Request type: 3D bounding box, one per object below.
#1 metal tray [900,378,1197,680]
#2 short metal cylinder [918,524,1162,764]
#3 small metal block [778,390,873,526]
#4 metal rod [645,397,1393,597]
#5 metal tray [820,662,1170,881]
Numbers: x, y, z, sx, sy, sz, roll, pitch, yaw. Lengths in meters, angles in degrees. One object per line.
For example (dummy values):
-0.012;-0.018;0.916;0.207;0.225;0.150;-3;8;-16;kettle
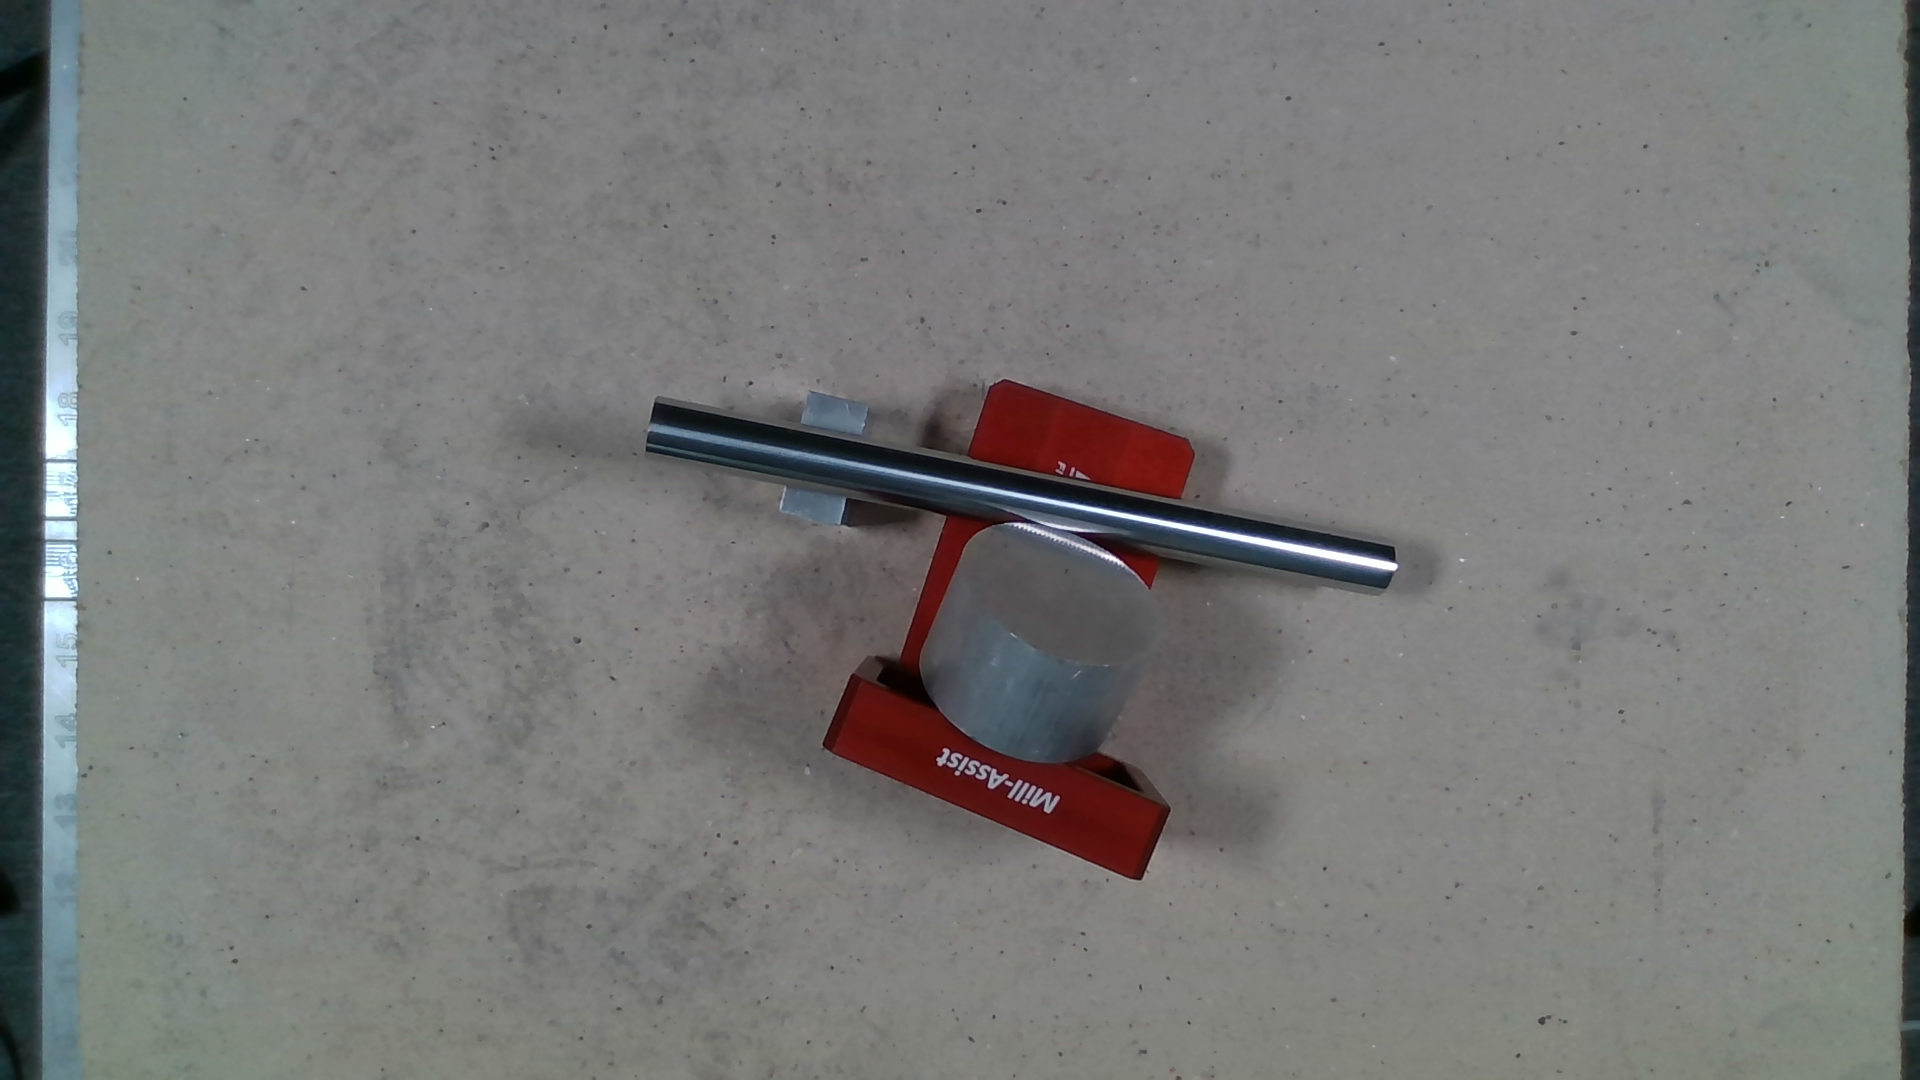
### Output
0.036;0.007;0.584;0.090;0.030;0.130;18;90;0;metal tray
0.030;0.038;0.523;0.080;0.080;0.050;23;123;0;short metal cylinder
-0.055;-0.033;0.574;0.025;0.050;0.050;13;90;0;small metal block
0.028;-0.015;0.548;0.300;0.025;0.025;10;90;-9;metal rod
0.013;0.089;0.555;0.130;0.090;0.030;23;90;0;metal tray
